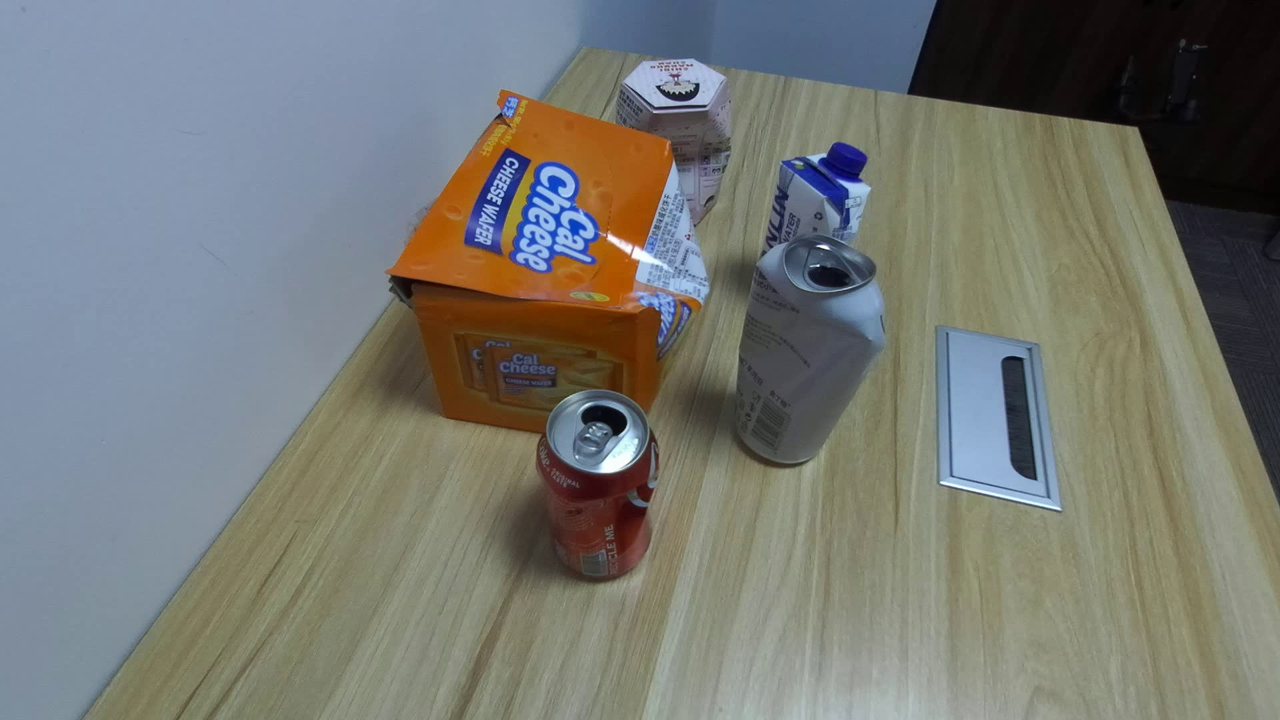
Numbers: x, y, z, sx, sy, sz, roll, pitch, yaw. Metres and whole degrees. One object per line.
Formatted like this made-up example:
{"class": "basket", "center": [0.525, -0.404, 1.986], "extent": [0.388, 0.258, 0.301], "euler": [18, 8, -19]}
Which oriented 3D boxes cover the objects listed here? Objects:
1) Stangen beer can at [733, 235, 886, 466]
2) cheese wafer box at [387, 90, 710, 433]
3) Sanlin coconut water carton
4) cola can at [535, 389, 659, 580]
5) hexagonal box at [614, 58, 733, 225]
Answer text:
{"class": "Stangen beer can", "center": [0.103, -0.001, 0.452], "extent": [0.077, 0.162, 0.066], "euler": [7, 47, 4]}
{"class": "cheese wafer box", "center": [-0.042, -0.072, 0.524], "extent": [0.191, 0.145, 0.219], "euler": [8, 48, 6]}
{"class": "Sanlin coconut water carton", "center": [0.133, -0.099, 0.554], "extent": [0.058, 0.142, 0.077], "euler": [-19, 50, -27]}
{"class": "cola can", "center": [-0.023, 0.074, 0.411], "extent": [0.066, 0.117, 0.066], "euler": [-21, 52, -19]}
{"class": "hexagonal box", "center": [0.031, -0.189, 0.637], "extent": [0.091, 0.135, 0.090], "euler": [28, 56, 21]}
